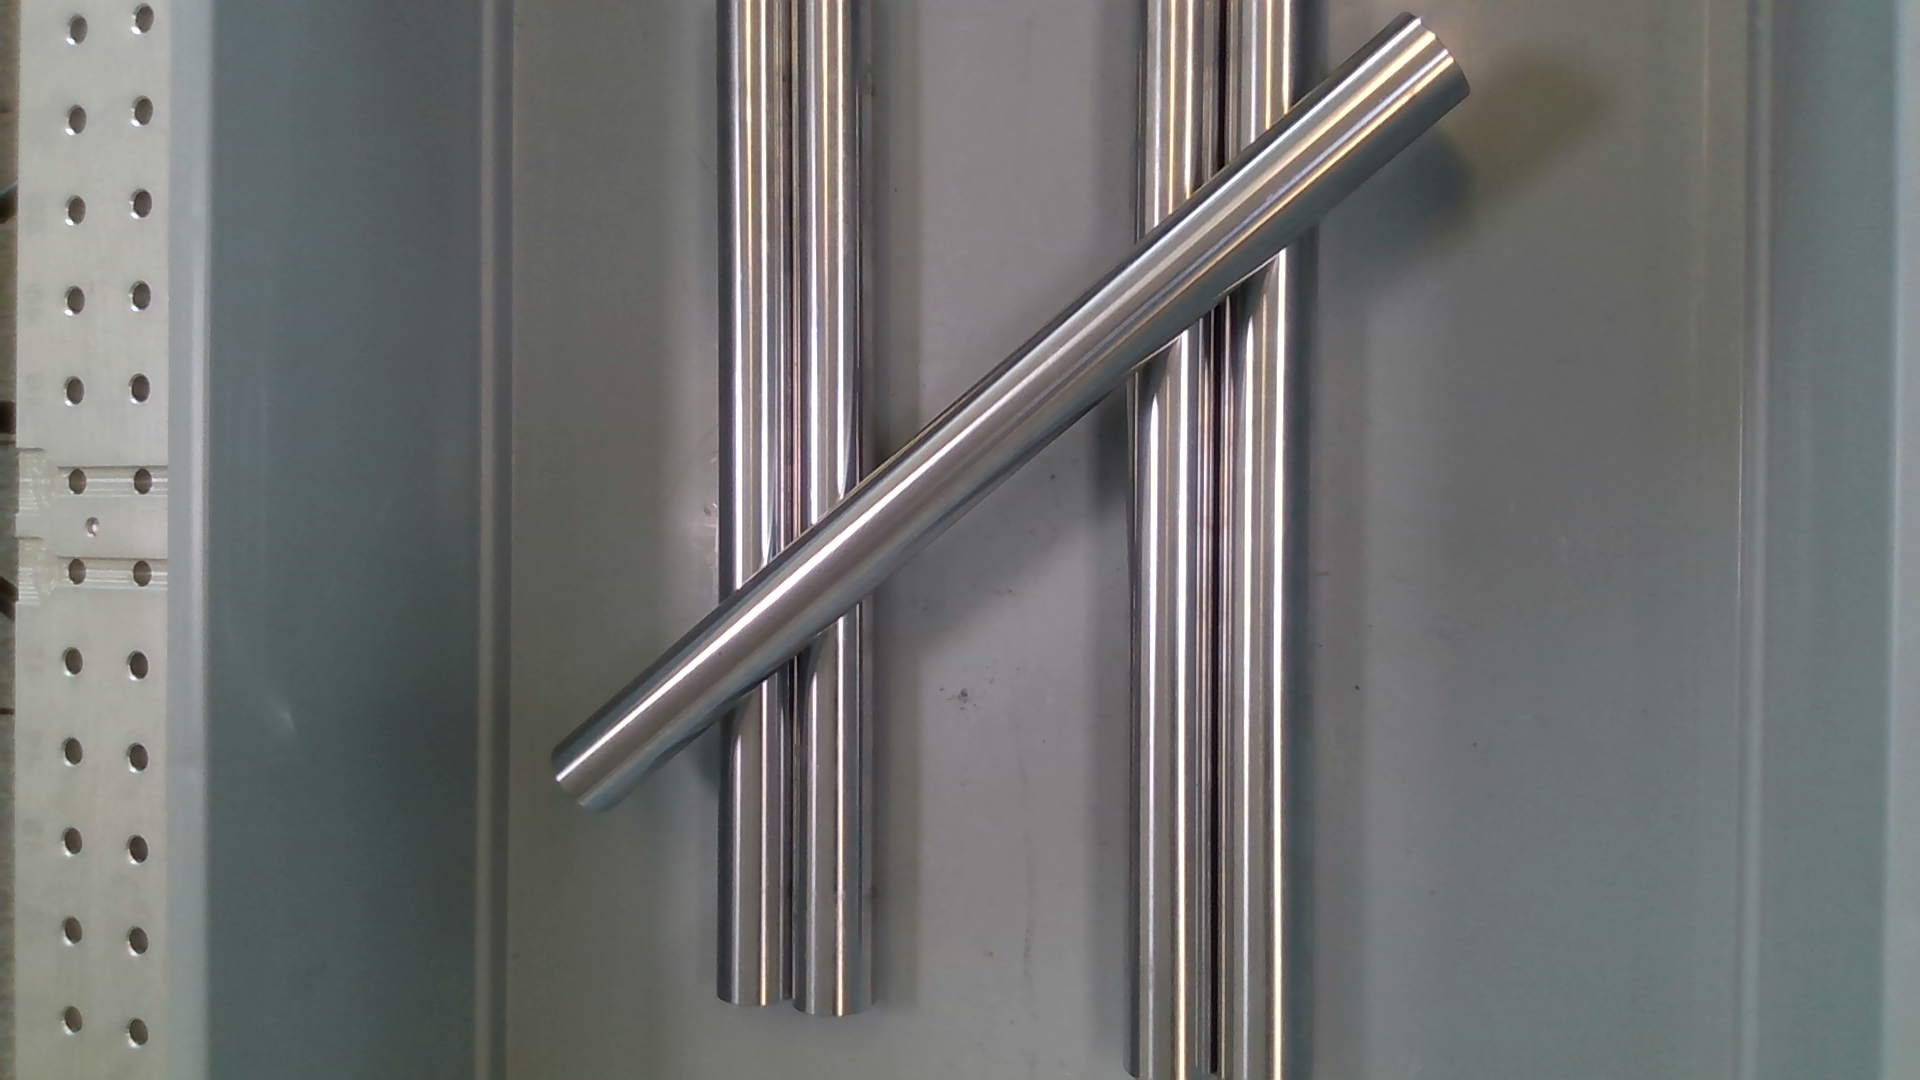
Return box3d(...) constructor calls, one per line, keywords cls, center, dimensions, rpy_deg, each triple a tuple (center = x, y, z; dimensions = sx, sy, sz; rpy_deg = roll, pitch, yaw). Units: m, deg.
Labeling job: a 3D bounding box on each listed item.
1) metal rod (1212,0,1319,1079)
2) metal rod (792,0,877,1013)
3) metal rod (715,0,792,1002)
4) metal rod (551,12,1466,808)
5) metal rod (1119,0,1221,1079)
box3d(cls="metal rod", center=(0.080, -0.009, 0.363), dimensions=(0.025, 0.025, 0.300), rpy_deg=(1, 91, 20))
box3d(cls="metal rod", center=(-0.037, -0.014, 0.406), dimensions=(0.025, 0.025, 0.300), rpy_deg=(0, 90, 20))
box3d(cls="metal rod", center=(-0.061, -0.014, 0.415), dimensions=(0.025, 0.025, 0.300), rpy_deg=(0, 90, 20))
box3d(cls="metal rod", center=(0.000, -0.023, 0.366), dimensions=(0.300, 0.025, 0.025), rpy_deg=(-40, 77, 16))
box3d(cls="metal rod", center=(0.057, -0.008, 0.371), dimensions=(0.025, 0.025, 0.300), rpy_deg=(1, 91, 20))
